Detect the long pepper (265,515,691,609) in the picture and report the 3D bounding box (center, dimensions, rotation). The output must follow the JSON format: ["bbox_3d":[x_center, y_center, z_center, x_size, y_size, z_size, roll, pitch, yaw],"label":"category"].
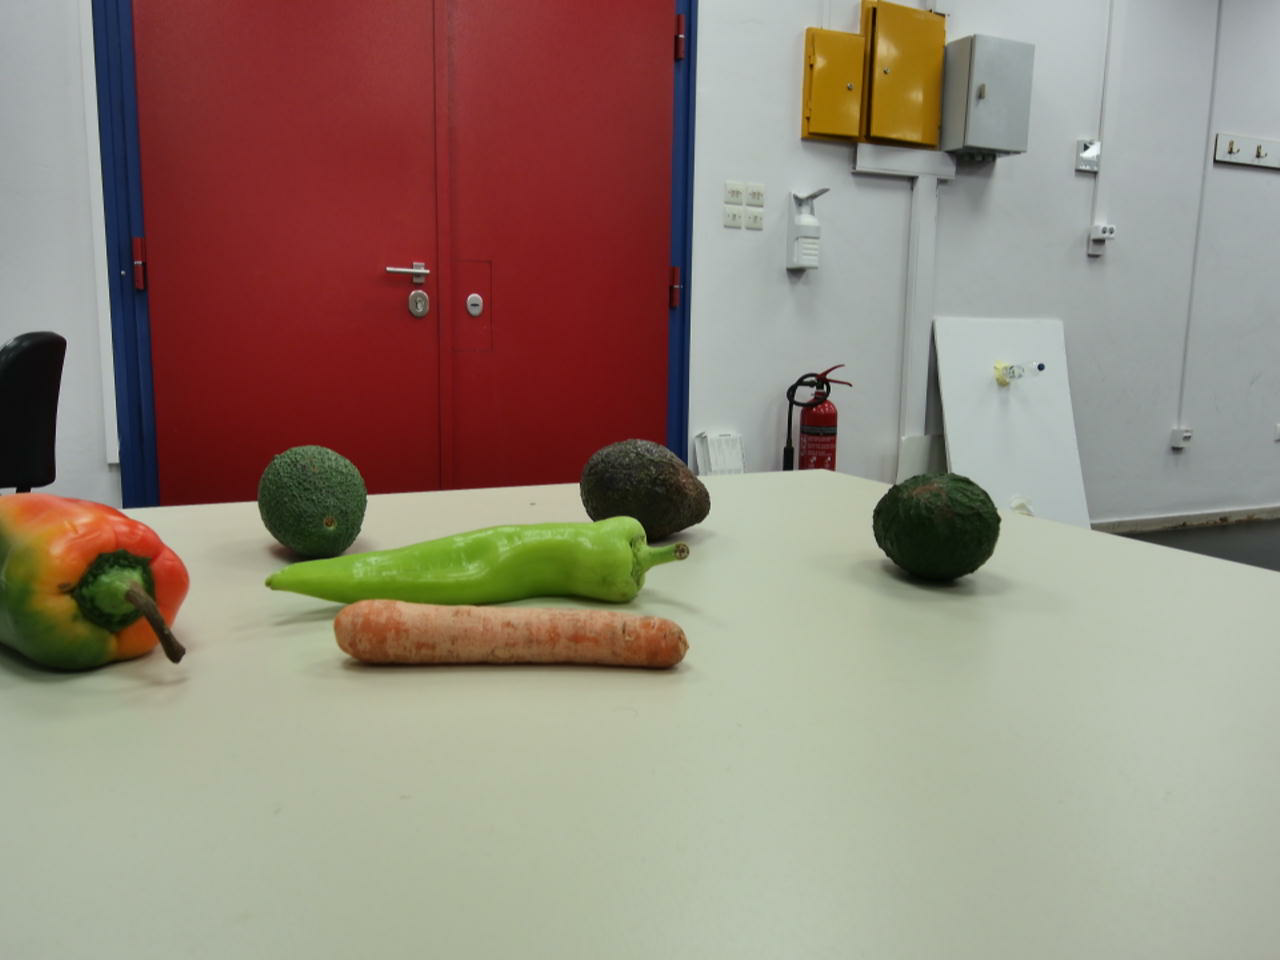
[{"bbox_3d":[-0.080,0.044,0.518,0.204,0.045,0.065,-1,7,-9],"label":"long pepper"}]
